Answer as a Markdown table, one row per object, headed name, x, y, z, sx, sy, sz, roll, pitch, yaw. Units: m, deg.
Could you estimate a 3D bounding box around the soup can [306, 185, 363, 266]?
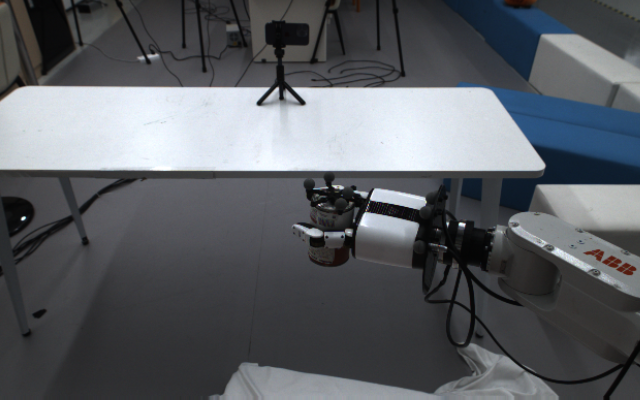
| name | x | y | z | sx | sy | sz | roll | pitch | yaw |
| --- | --- | --- | --- | --- | --- | --- | --- | --- | --- |
| soup can | 0.018 | 0.043 | 0.739 | 0.067 | 0.101 | 0.067 | 3 | 30 | -2 |
